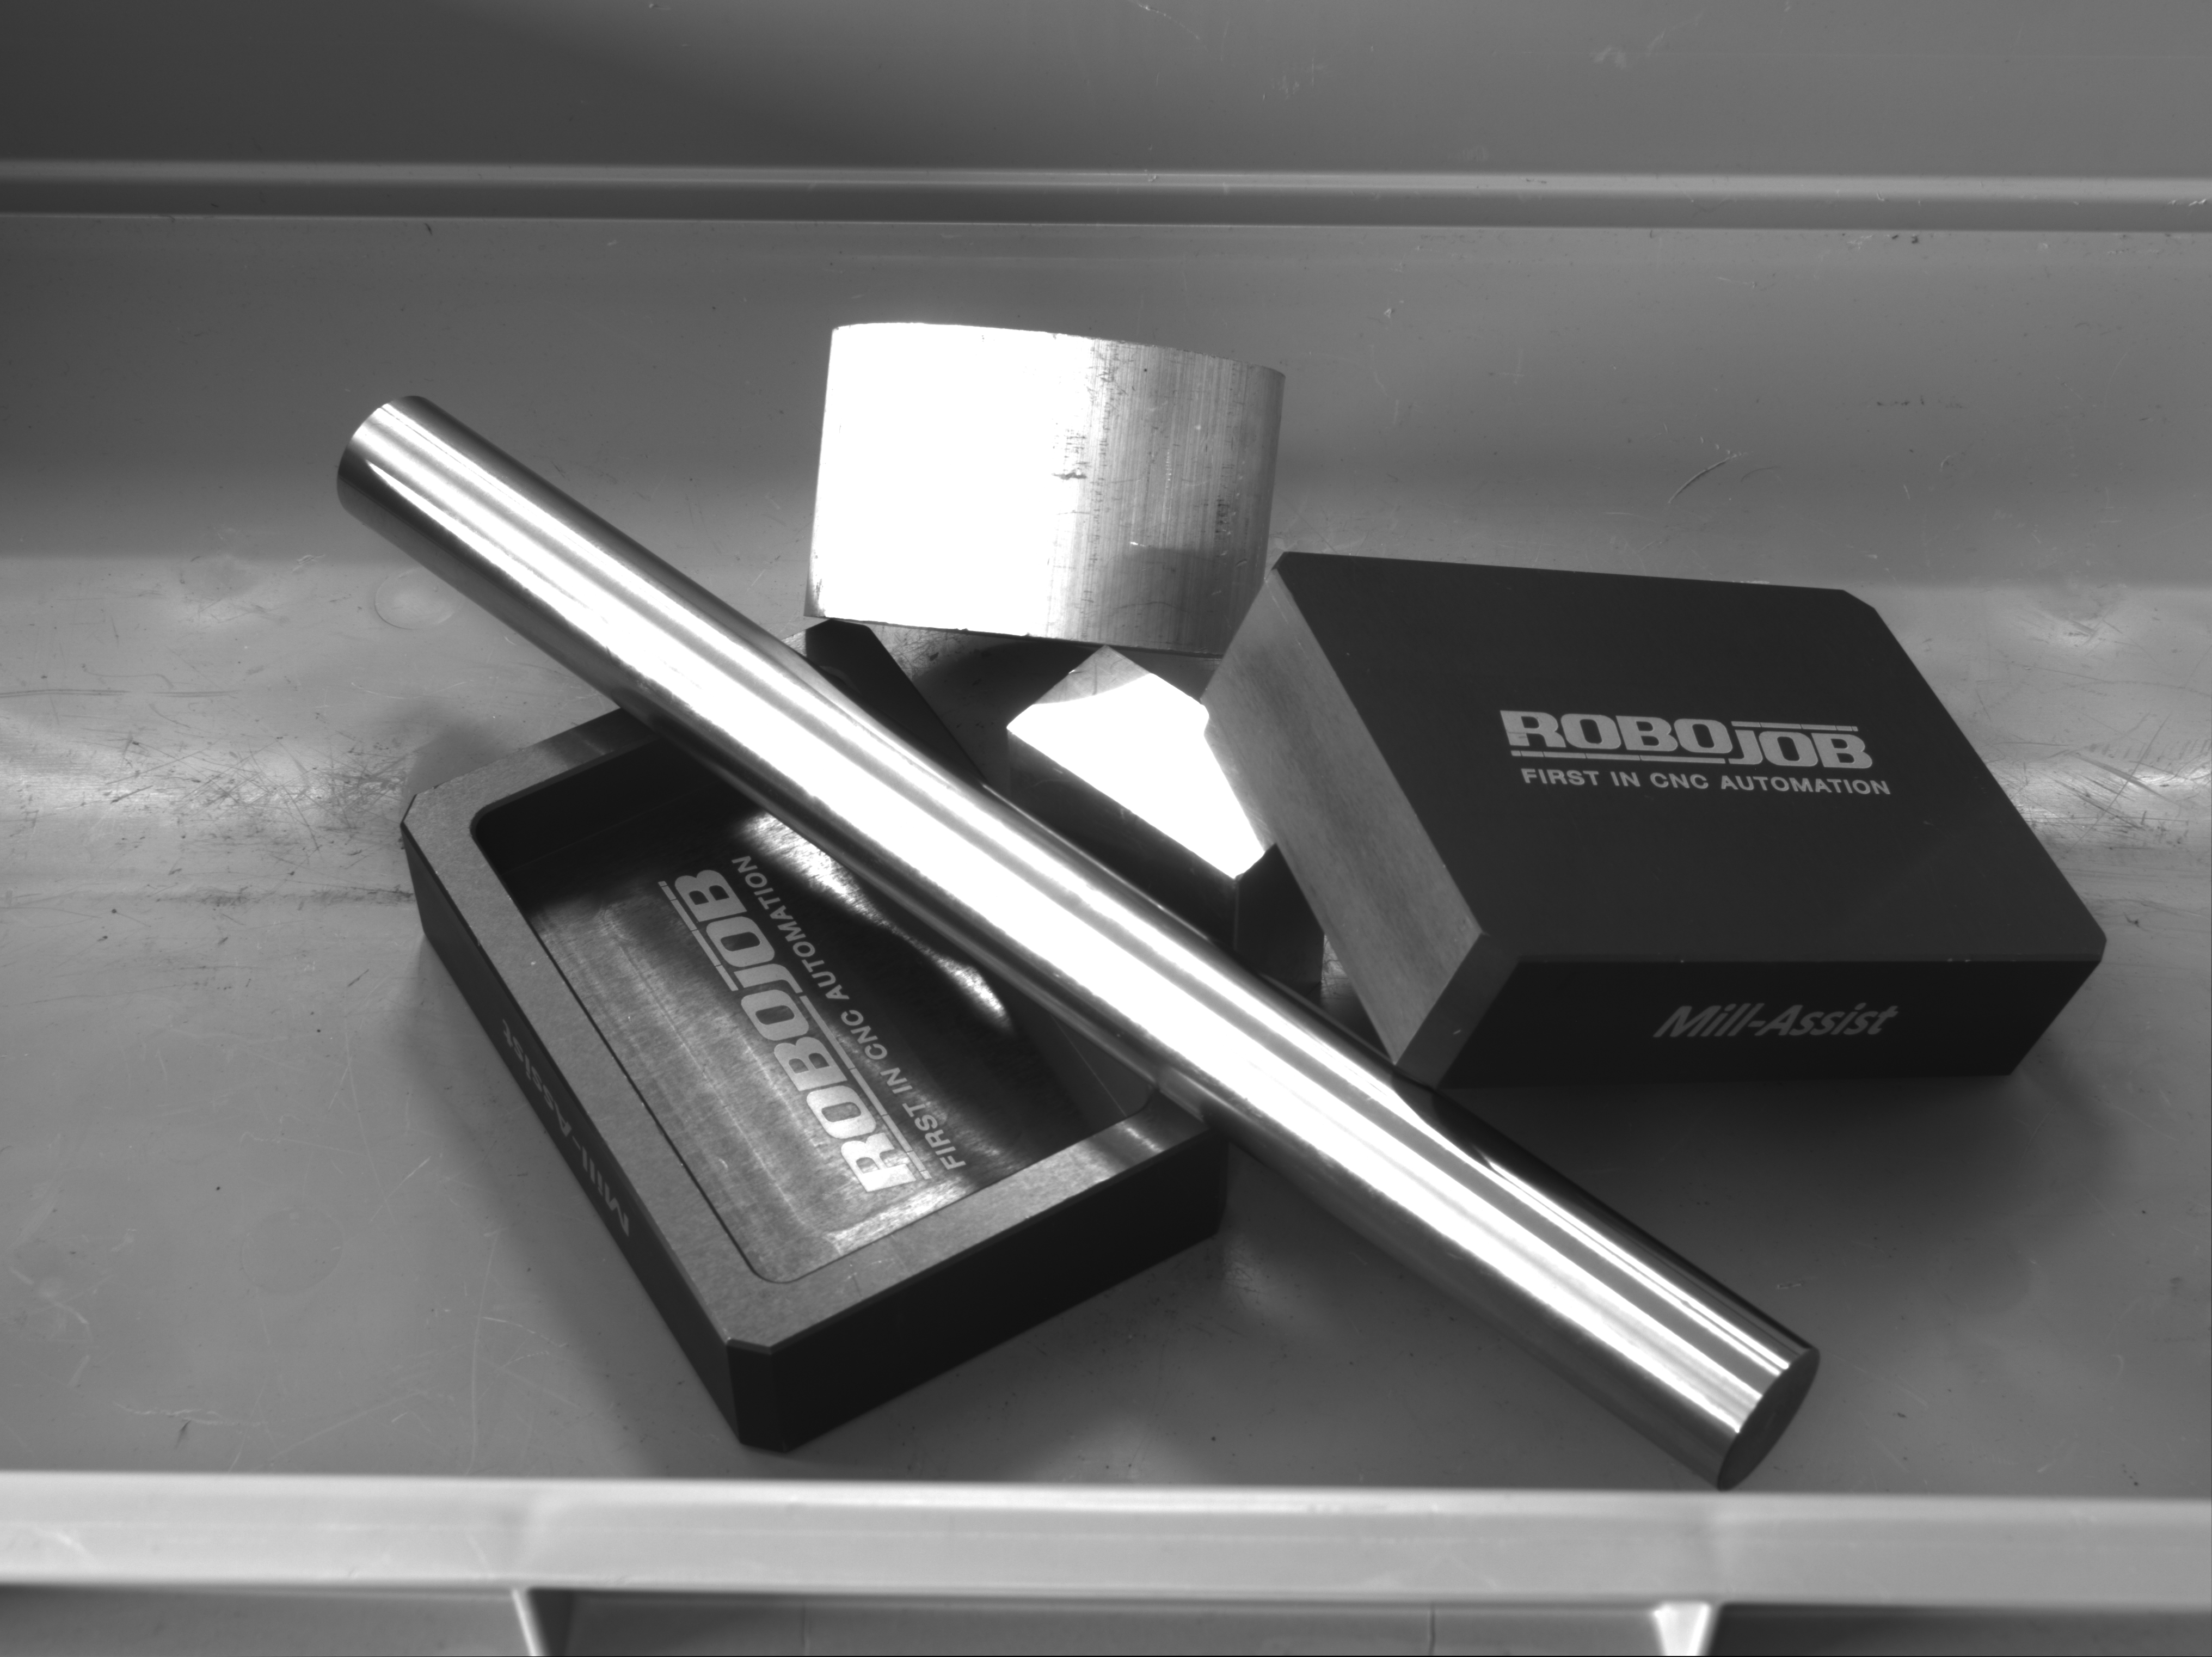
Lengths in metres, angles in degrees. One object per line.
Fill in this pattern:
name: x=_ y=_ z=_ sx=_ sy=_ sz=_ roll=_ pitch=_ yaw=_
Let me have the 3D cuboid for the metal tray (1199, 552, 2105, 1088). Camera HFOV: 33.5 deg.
metal tray: x=0.090 y=-0.002 z=0.606 sx=0.130 sy=0.030 sz=0.090 roll=1 pitch=45 yaw=-32

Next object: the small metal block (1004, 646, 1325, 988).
small metal block: x=0.010 y=0.004 z=0.620 sx=0.050 sy=0.050 sz=0.025 roll=34 pitch=58 yaw=25

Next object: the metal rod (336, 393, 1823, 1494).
metal rod: x=-0.016 y=0.010 z=0.594 sx=0.299 sy=0.025 sz=0.025 roll=34 pitch=58 yaw=25

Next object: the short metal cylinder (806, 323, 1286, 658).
short metal cylinder: x=-0.011 y=-0.058 z=0.646 sx=0.080 sy=0.080 sz=0.050 roll=6 pitch=92 yaw=6

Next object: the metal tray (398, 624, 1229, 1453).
metal tray: x=-0.050 y=0.030 z=0.612 sx=0.090 sy=0.030 sz=0.130 roll=-25 pitch=54 yaw=-20
